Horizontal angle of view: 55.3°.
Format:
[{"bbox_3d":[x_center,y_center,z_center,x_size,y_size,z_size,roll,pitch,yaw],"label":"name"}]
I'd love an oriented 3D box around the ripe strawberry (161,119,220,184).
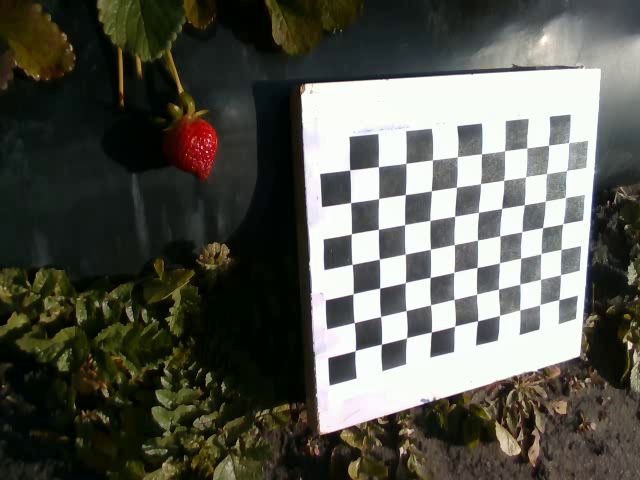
[{"bbox_3d":[-0.078,-0.053,0.376,0.040,0.044,0.036,-29,11,-17],"label":"ripe strawberry"}]
